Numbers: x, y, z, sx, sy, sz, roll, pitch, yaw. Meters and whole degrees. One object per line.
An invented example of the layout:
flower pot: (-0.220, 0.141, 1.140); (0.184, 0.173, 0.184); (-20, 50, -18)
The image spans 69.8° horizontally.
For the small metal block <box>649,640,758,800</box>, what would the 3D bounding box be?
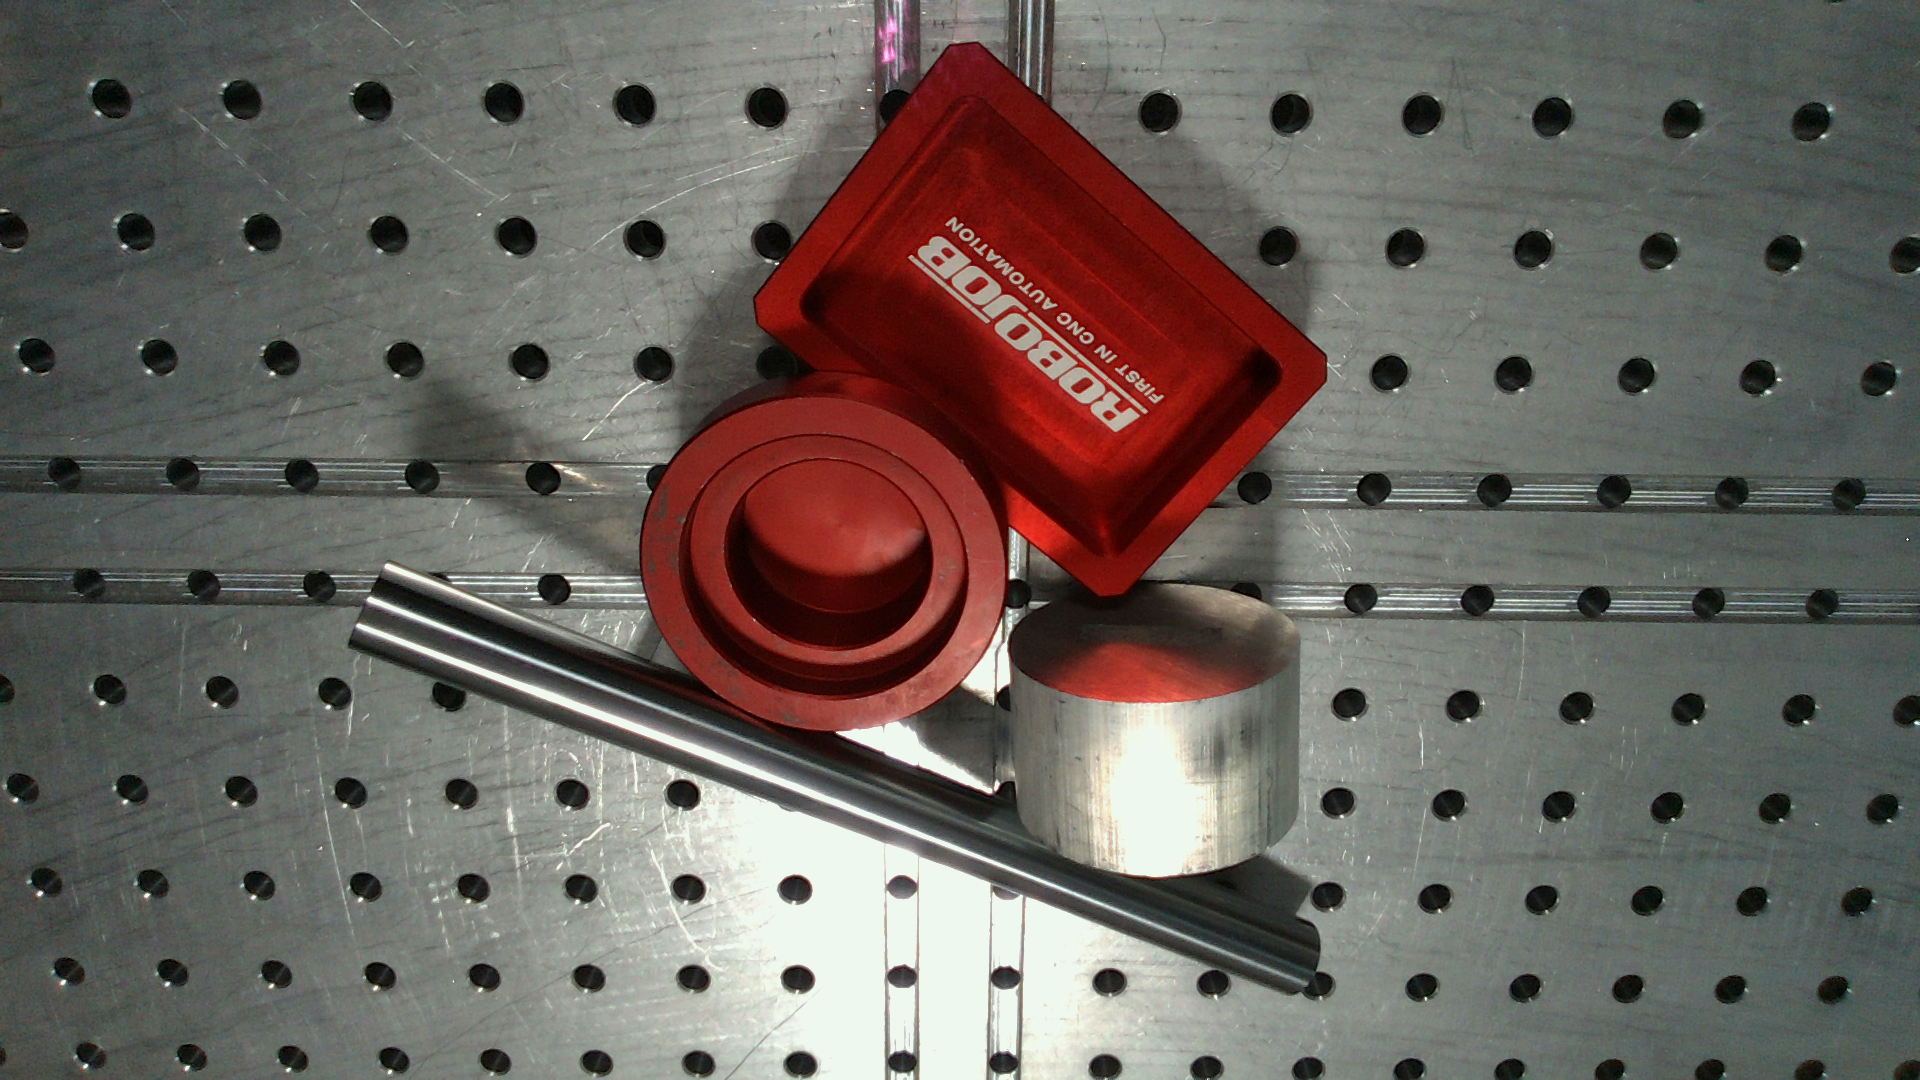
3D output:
small metal block: (-0.069, 0.043, 0.412); (0.050, 0.025, 0.050); (27, 108, -10)

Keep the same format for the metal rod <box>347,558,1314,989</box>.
metal rod: (-0.023, 0.075, 0.402); (0.301, 0.025, 0.025); (24, 109, -18)

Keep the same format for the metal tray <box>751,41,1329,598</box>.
metal tray: (0.022, -0.057, 0.372); (0.130, 0.030, 0.090); (38, 105, -13)

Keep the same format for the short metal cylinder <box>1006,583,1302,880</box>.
short metal cylinder: (0.054, 0.051, 0.385); (0.080, 0.080, 0.050); (-4, 110, 1)

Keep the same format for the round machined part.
round machined part: (-0.035, 0.001, 0.379); (0.098, 0.042, 0.098); (1, 110, 2)
